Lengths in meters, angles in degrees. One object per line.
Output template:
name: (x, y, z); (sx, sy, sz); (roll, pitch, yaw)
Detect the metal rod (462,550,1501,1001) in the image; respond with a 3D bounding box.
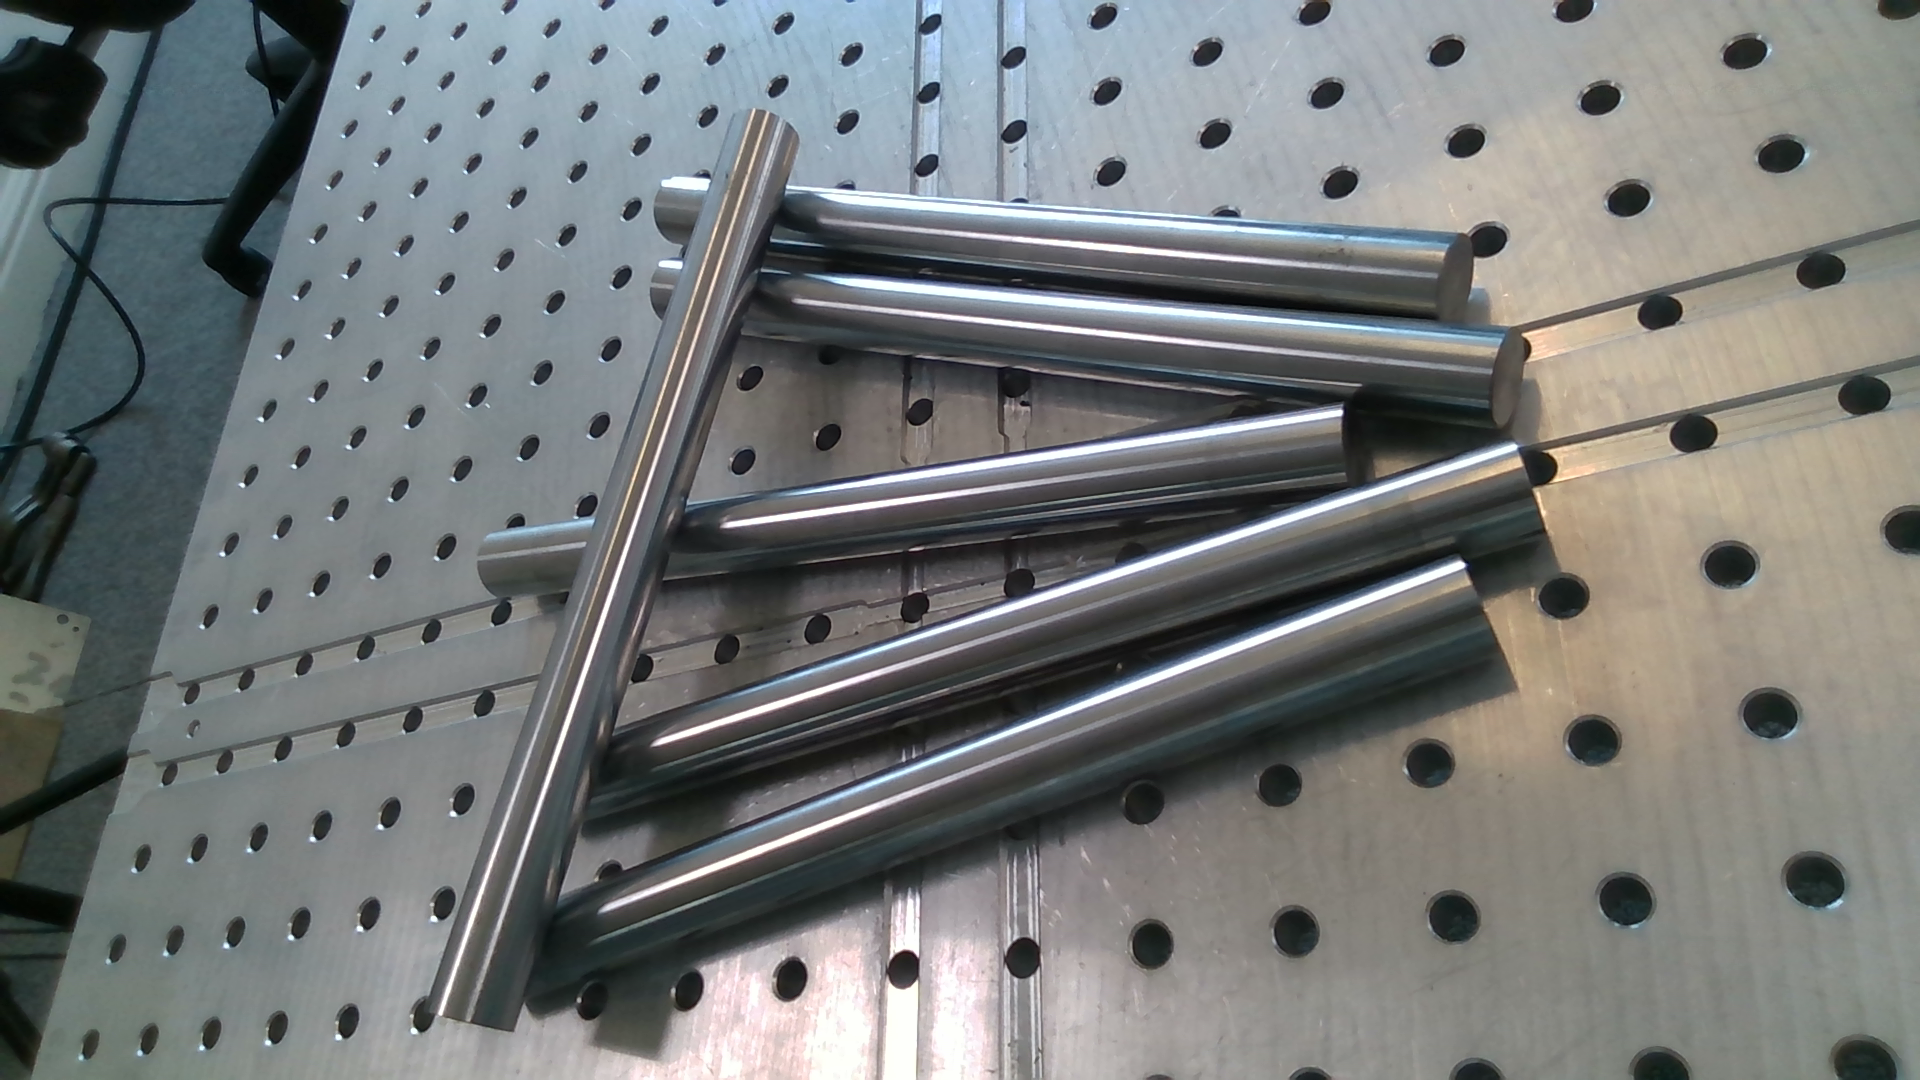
metal rod: (-0.011, 0.070, 0.365); (0.300, 0.025, 0.025); (-23, 55, 20)

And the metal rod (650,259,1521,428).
metal rod: (0.014, -0.066, 0.423); (0.300, 0.025, 0.025); (12, 73, 36)

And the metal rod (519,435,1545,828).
metal rod: (0.001, 0.033, 0.378); (0.300, 0.025, 0.025); (-19, 57, 22)

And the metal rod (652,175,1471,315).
metal rod: (0.009, -0.097, 0.441); (0.300, 0.025, 0.025); (14, 74, 36)

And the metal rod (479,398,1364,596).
metal rod: (-0.031, -0.008, 0.419); (0.300, 0.025, 0.025); (-7, 62, 29)
